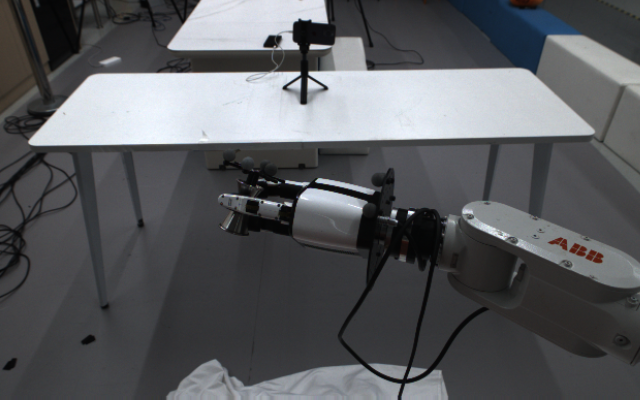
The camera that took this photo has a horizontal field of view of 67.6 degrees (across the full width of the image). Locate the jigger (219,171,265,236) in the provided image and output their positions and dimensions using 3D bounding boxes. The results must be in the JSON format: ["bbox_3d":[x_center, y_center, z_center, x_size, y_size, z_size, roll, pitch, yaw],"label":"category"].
[{"bbox_3d":[-0.106,0.009,0.652,0.043,0.071,0.043,21,6,-2],"label":"jigger"}]
